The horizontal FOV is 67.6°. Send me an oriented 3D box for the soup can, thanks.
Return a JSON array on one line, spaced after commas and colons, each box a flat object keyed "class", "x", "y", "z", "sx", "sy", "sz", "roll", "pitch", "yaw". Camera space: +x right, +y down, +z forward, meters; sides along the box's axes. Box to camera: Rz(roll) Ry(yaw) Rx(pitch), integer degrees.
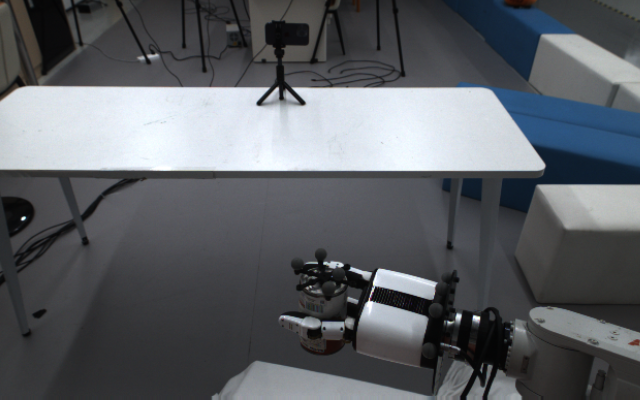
[{"class": "soup can", "x": 0.007, "y": 0.153, "z": 0.667, "sx": 0.067, "sy": 0.101, "sz": 0.067, "roll": 1, "pitch": 25, "yaw": 0}]
